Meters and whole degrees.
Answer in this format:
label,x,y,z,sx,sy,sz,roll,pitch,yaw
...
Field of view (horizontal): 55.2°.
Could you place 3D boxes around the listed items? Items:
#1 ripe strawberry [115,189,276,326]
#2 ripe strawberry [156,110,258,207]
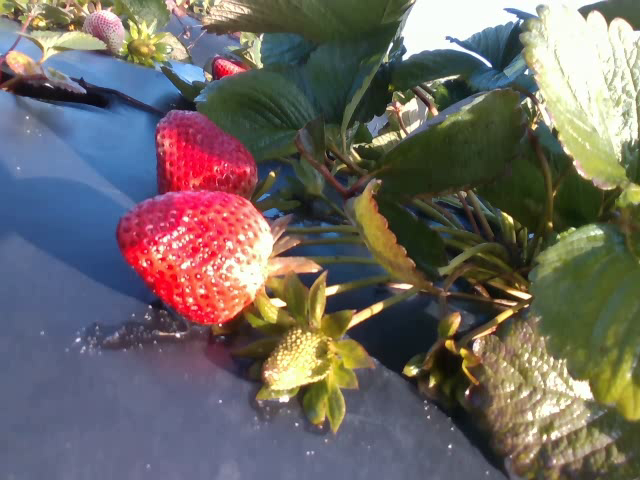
label,x,y,z,sx,sy,sz,roll,pitch,yaw
ripe strawberry,-0.036,0.000,0.174,0.038,0.043,0.053,-38,-32,21
ripe strawberry,-0.046,-0.028,0.238,0.048,0.054,0.039,-39,4,-35
